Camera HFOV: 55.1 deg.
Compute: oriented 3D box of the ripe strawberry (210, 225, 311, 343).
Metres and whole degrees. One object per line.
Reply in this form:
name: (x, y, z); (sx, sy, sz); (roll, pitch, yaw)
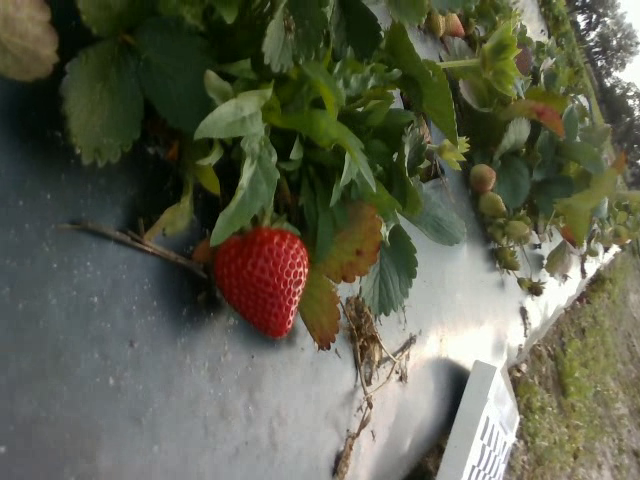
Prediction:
ripe strawberry: (-0.025, 0.017, 0.242); (0.042, 0.051, 0.043); (-16, -16, 24)
